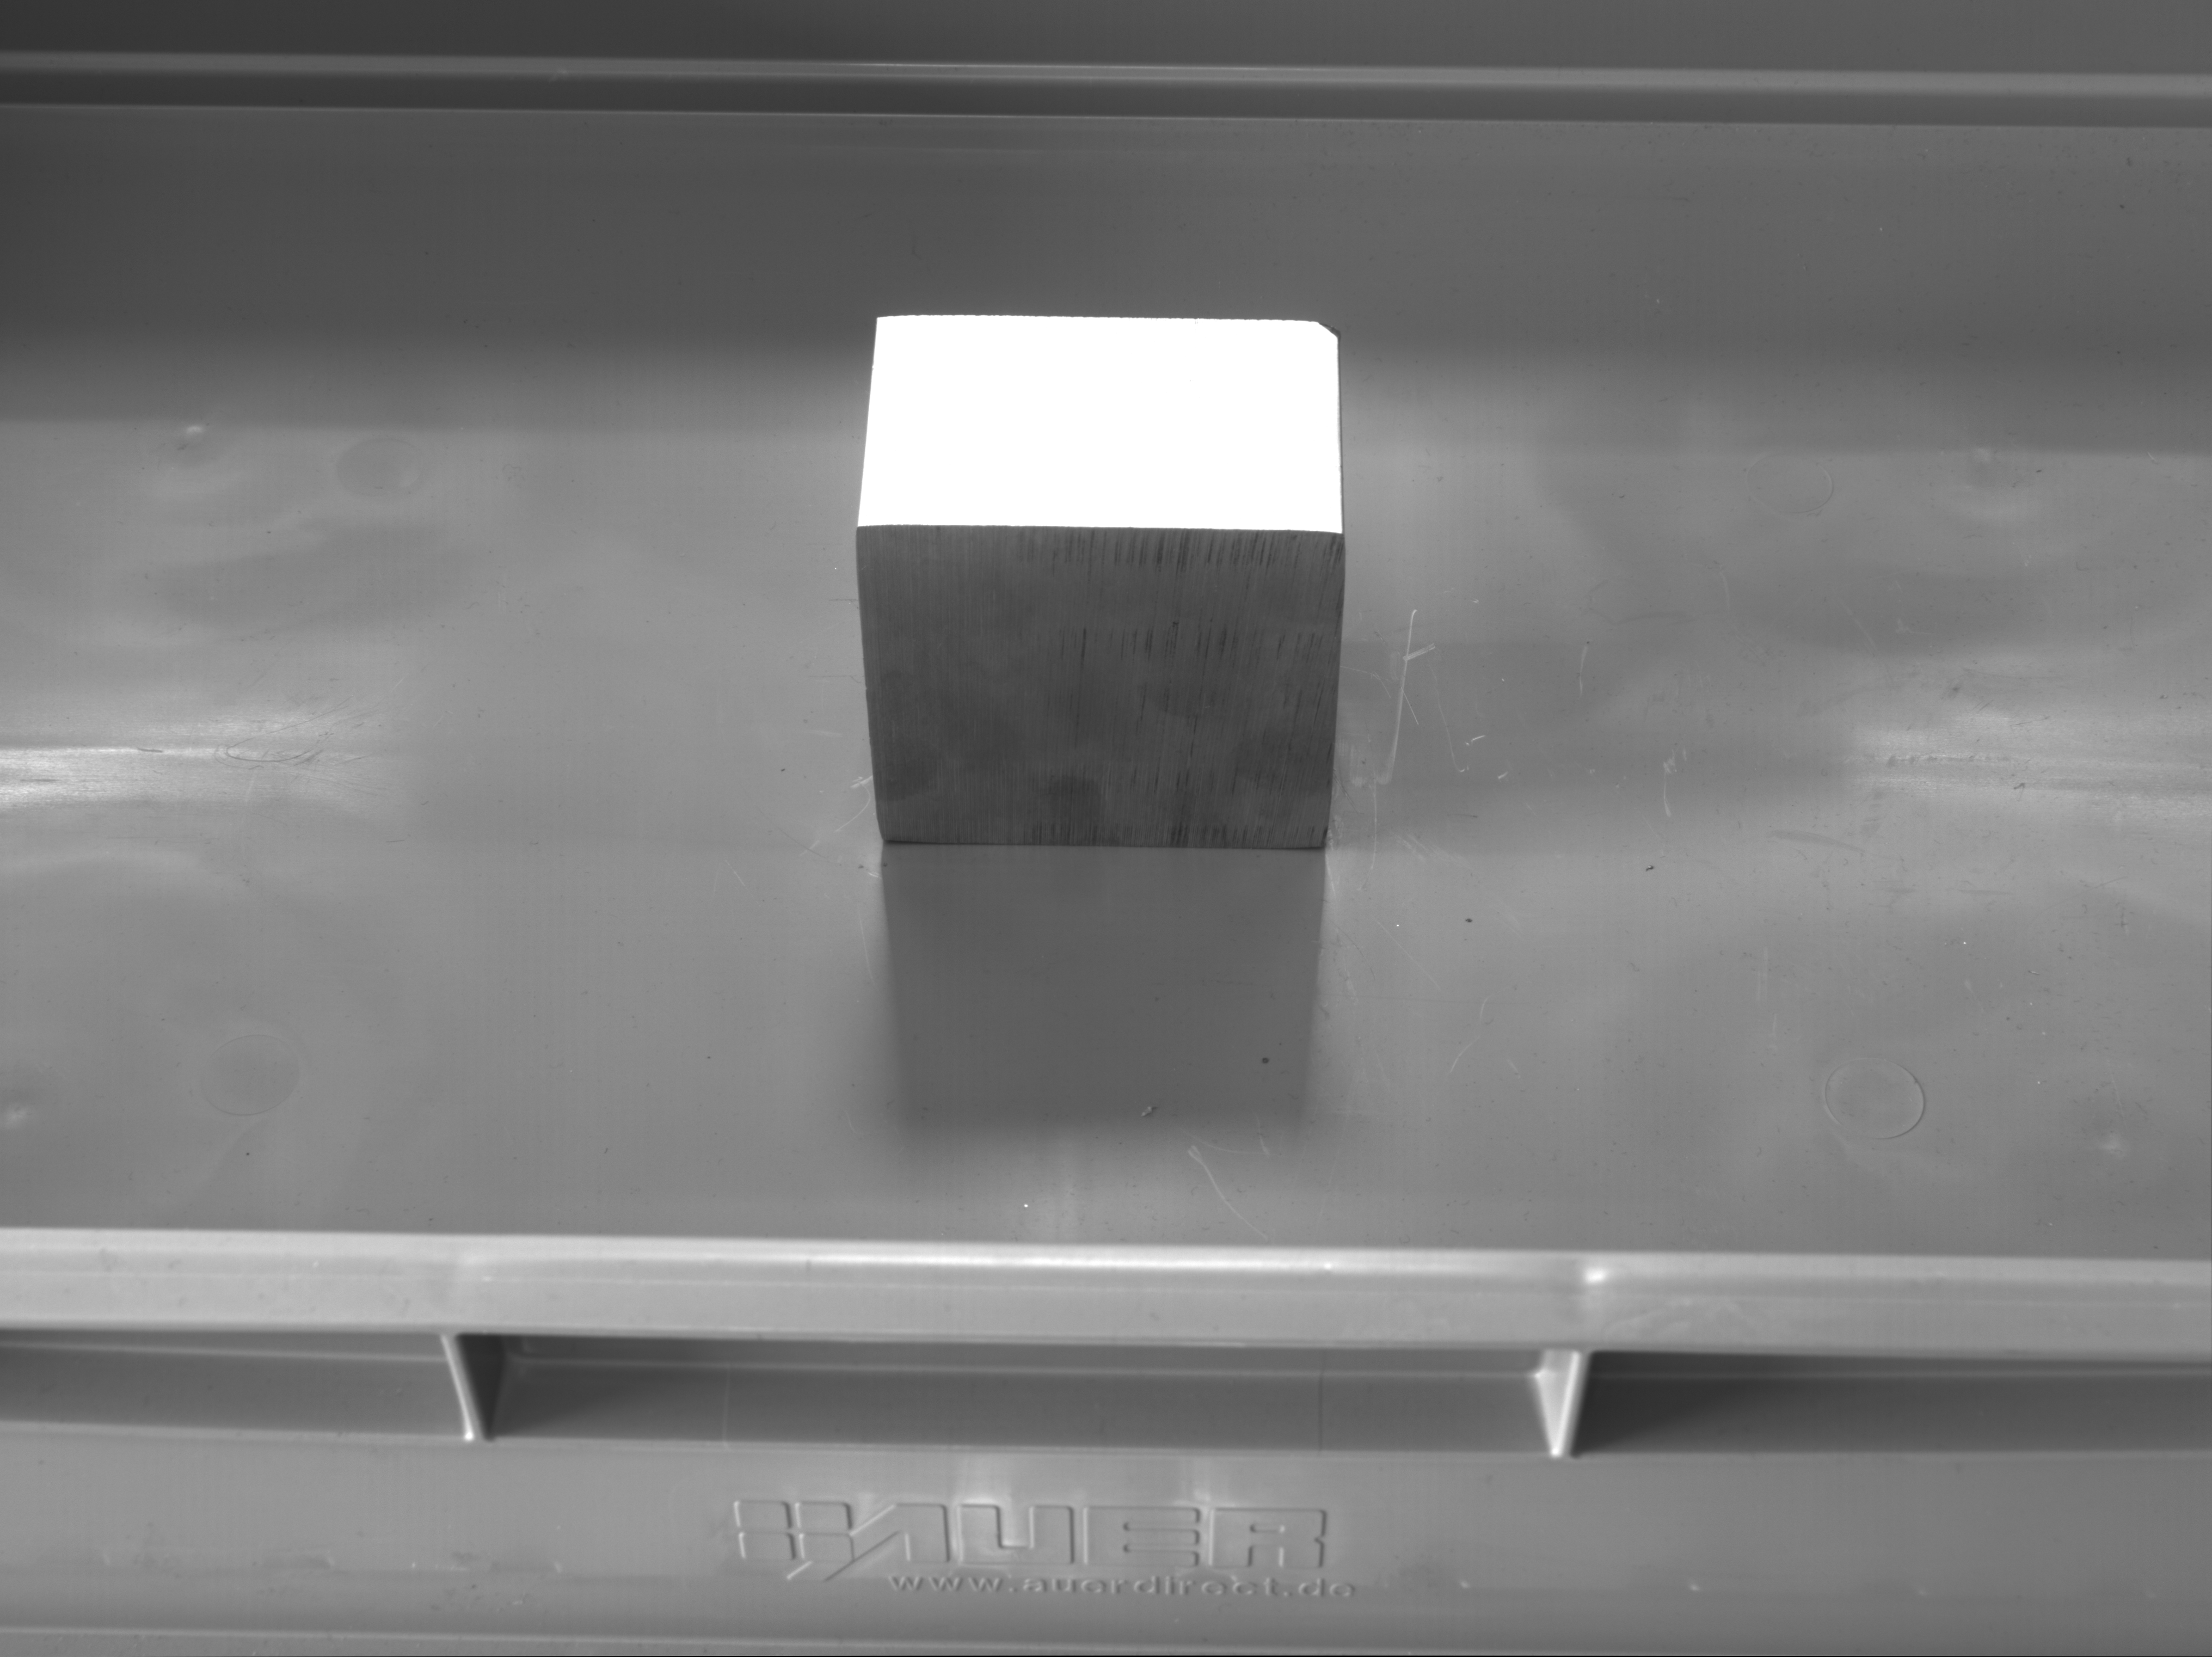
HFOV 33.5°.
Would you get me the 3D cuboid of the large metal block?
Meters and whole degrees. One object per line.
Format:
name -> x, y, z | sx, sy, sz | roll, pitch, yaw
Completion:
large metal block -> 0.000, -0.042, 0.639 | 0.080, 0.080, 0.050 | 1, 50, 1
